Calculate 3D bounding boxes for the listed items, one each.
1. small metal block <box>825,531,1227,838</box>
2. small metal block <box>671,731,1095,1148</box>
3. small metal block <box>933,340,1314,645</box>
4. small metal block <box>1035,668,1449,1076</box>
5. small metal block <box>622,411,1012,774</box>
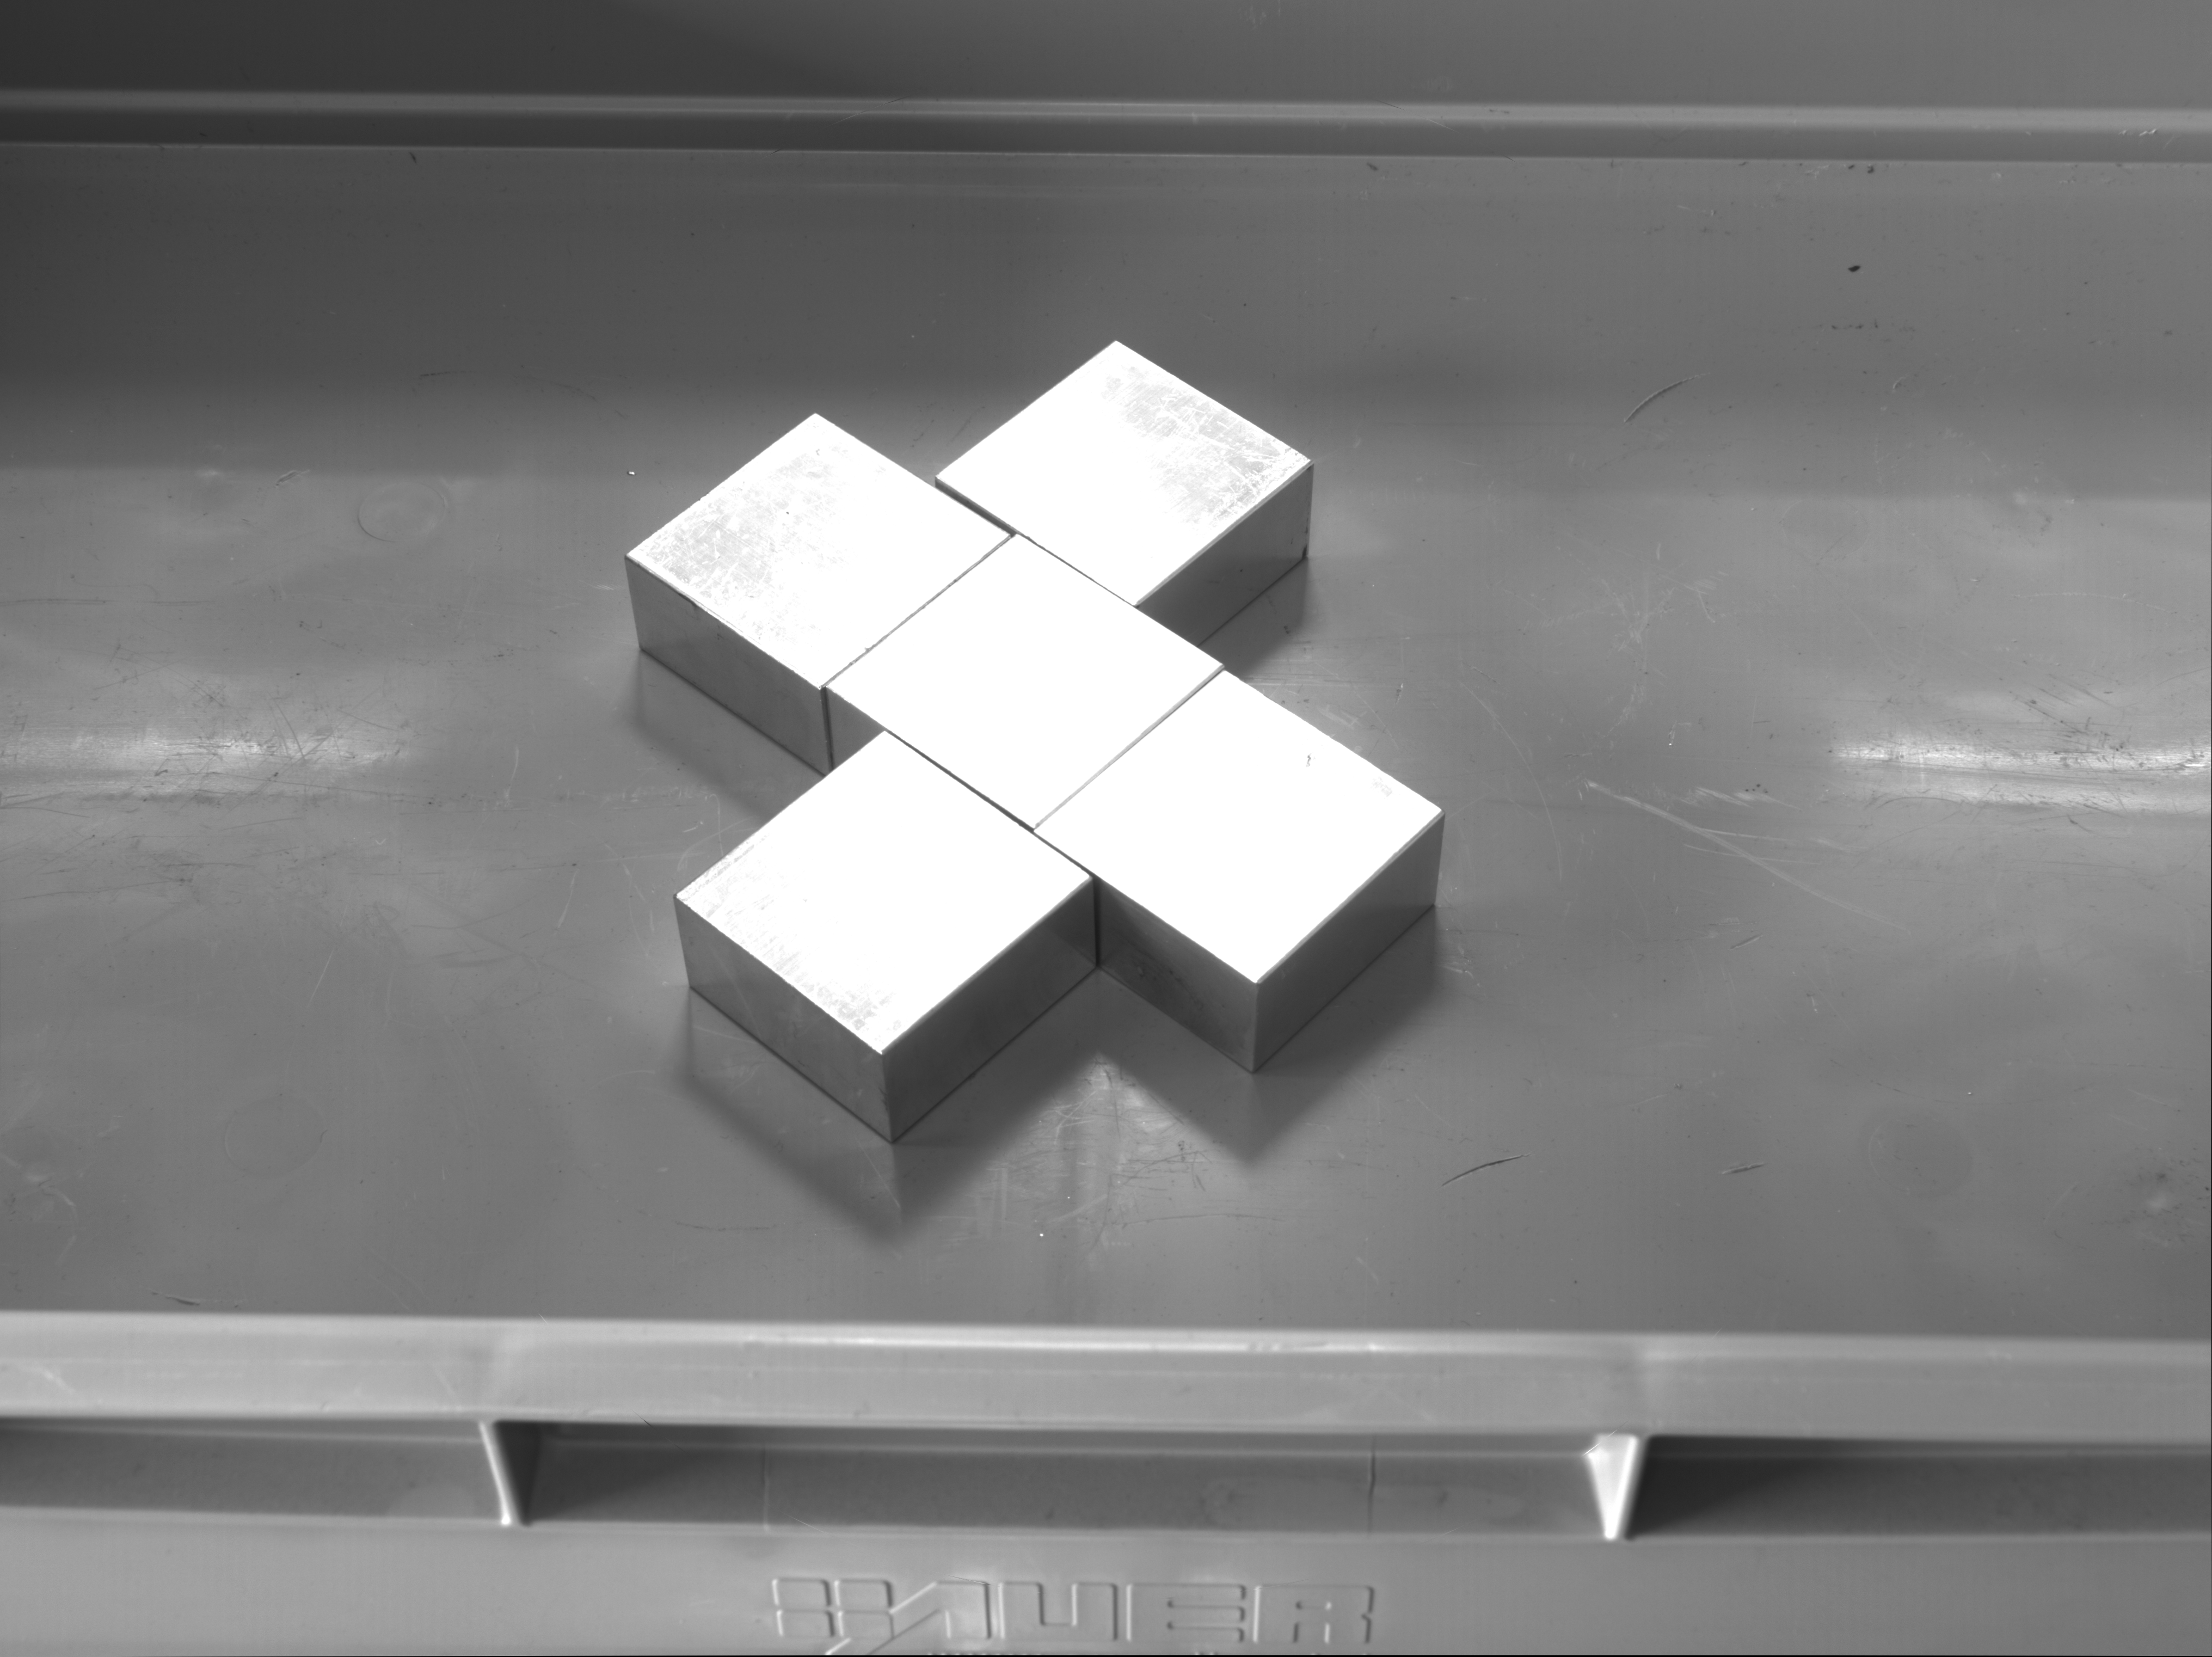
[{"bbox_3d":[-0.014,-0.019,0.655,0.050,0.025,0.050,34,58,25],"label":"small metal block"},{"bbox_3d":[-0.037,0.018,0.625,0.050,0.025,0.050,35,59,26],"label":"small metal block"},{"bbox_3d":[0.003,-0.059,0.689,0.050,0.025,0.050,34,57,26],"label":"small metal block"},{"bbox_3d":[0.023,0.007,0.634,0.050,0.025,0.050,34,58,25],"label":"small metal block"},{"bbox_3d":[-0.052,-0.044,0.676,0.050,0.025,0.050,34,58,25],"label":"small metal block"}]
